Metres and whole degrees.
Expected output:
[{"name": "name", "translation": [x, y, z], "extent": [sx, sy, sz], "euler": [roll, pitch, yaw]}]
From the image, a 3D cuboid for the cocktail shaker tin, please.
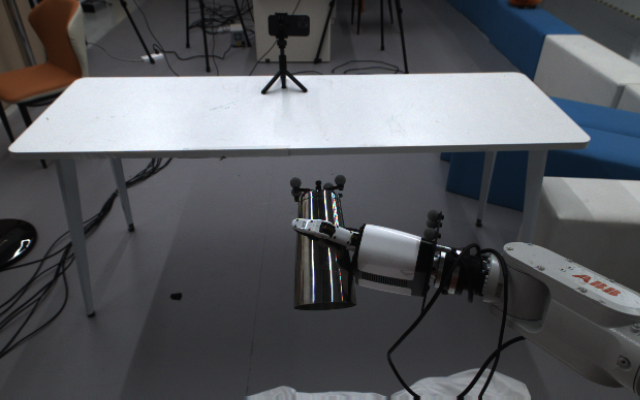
[{"name": "cocktail shaker tin", "translation": [0.002, 0.075, 0.729], "extent": [0.093, 0.093, 0.170], "euler": [-2, 70, -5]}]
